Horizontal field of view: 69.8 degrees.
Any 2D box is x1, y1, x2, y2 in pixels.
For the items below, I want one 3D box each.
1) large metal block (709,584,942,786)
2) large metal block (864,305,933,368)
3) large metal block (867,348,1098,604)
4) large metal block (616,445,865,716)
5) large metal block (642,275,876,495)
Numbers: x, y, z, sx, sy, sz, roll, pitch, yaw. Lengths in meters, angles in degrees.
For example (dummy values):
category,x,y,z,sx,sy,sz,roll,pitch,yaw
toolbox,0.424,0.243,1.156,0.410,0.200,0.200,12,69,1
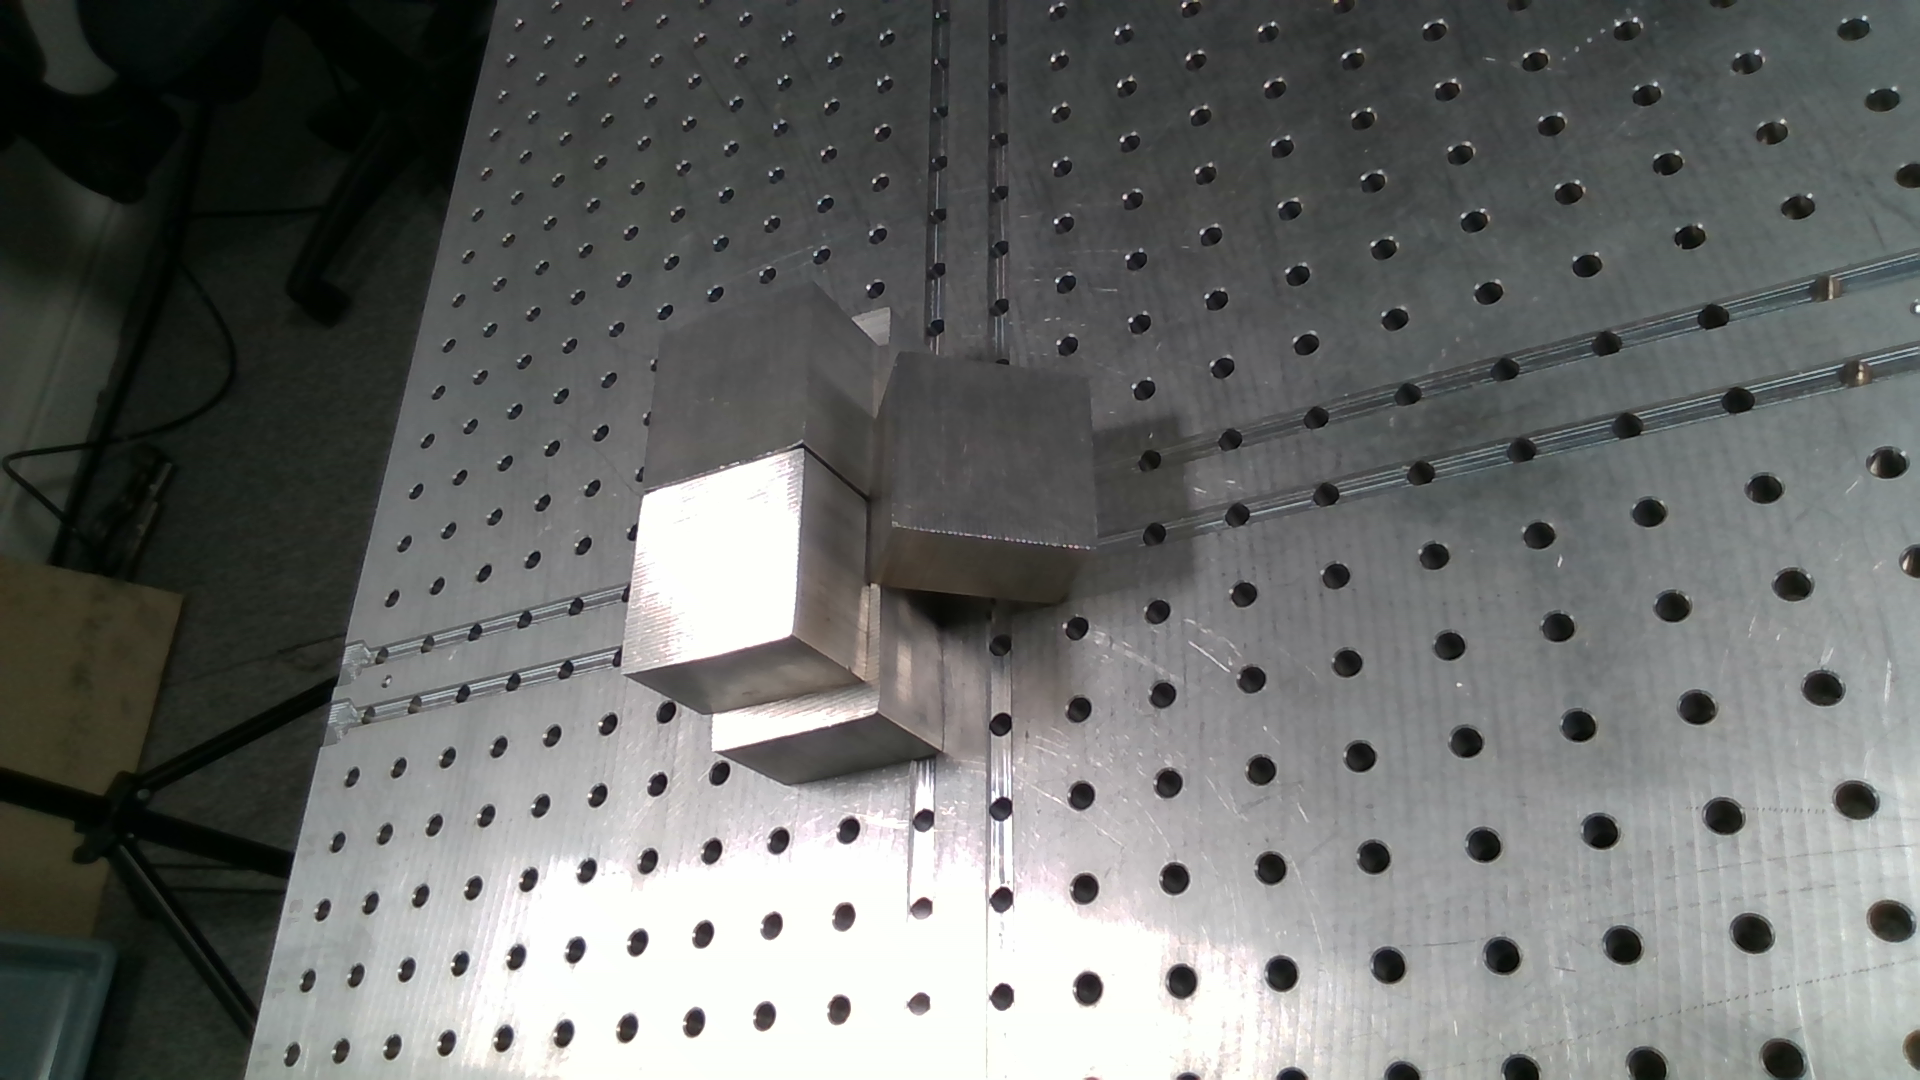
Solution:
category,x,y,z,sx,sy,sz,roll,pitch,yaw
large metal block,-0.055,0.051,0.578,0.080,0.050,0.080,-15,58,24
large metal block,-0.054,-0.051,0.634,0.080,0.050,0.080,-13,59,26
large metal block,0.008,-0.024,0.554,0.080,0.050,0.080,6,62,-12
large metal block,-0.085,0.018,0.548,0.080,0.050,0.080,-15,59,25
large metal block,-0.083,-0.054,0.584,0.080,0.050,0.080,-15,59,25
